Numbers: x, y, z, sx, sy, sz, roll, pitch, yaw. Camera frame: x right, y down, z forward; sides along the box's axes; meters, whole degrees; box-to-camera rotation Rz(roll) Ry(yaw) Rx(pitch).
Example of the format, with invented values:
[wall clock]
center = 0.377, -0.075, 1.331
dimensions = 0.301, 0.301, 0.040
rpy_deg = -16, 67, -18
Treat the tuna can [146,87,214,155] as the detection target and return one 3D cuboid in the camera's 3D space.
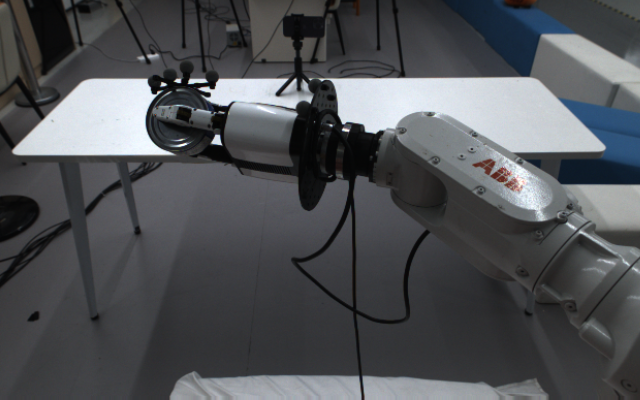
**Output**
[tuna can]
center = -0.176, -0.099, 0.628
dimensions = 0.085, 0.085, 0.034
rpy_deg = 9, -6, 10
